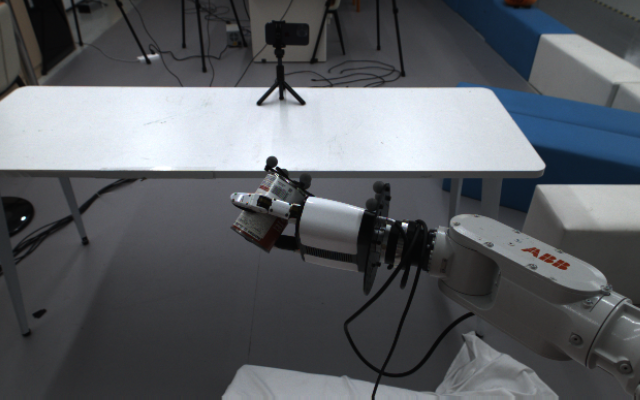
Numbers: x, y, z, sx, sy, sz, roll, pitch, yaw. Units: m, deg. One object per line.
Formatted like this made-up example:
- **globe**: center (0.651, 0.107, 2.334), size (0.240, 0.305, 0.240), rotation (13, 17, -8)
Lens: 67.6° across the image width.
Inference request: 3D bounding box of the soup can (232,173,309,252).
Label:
- **soup can**: center (-0.075, 0.019, 0.714), size (0.067, 0.067, 0.101), rotation (27, 78, 31)
